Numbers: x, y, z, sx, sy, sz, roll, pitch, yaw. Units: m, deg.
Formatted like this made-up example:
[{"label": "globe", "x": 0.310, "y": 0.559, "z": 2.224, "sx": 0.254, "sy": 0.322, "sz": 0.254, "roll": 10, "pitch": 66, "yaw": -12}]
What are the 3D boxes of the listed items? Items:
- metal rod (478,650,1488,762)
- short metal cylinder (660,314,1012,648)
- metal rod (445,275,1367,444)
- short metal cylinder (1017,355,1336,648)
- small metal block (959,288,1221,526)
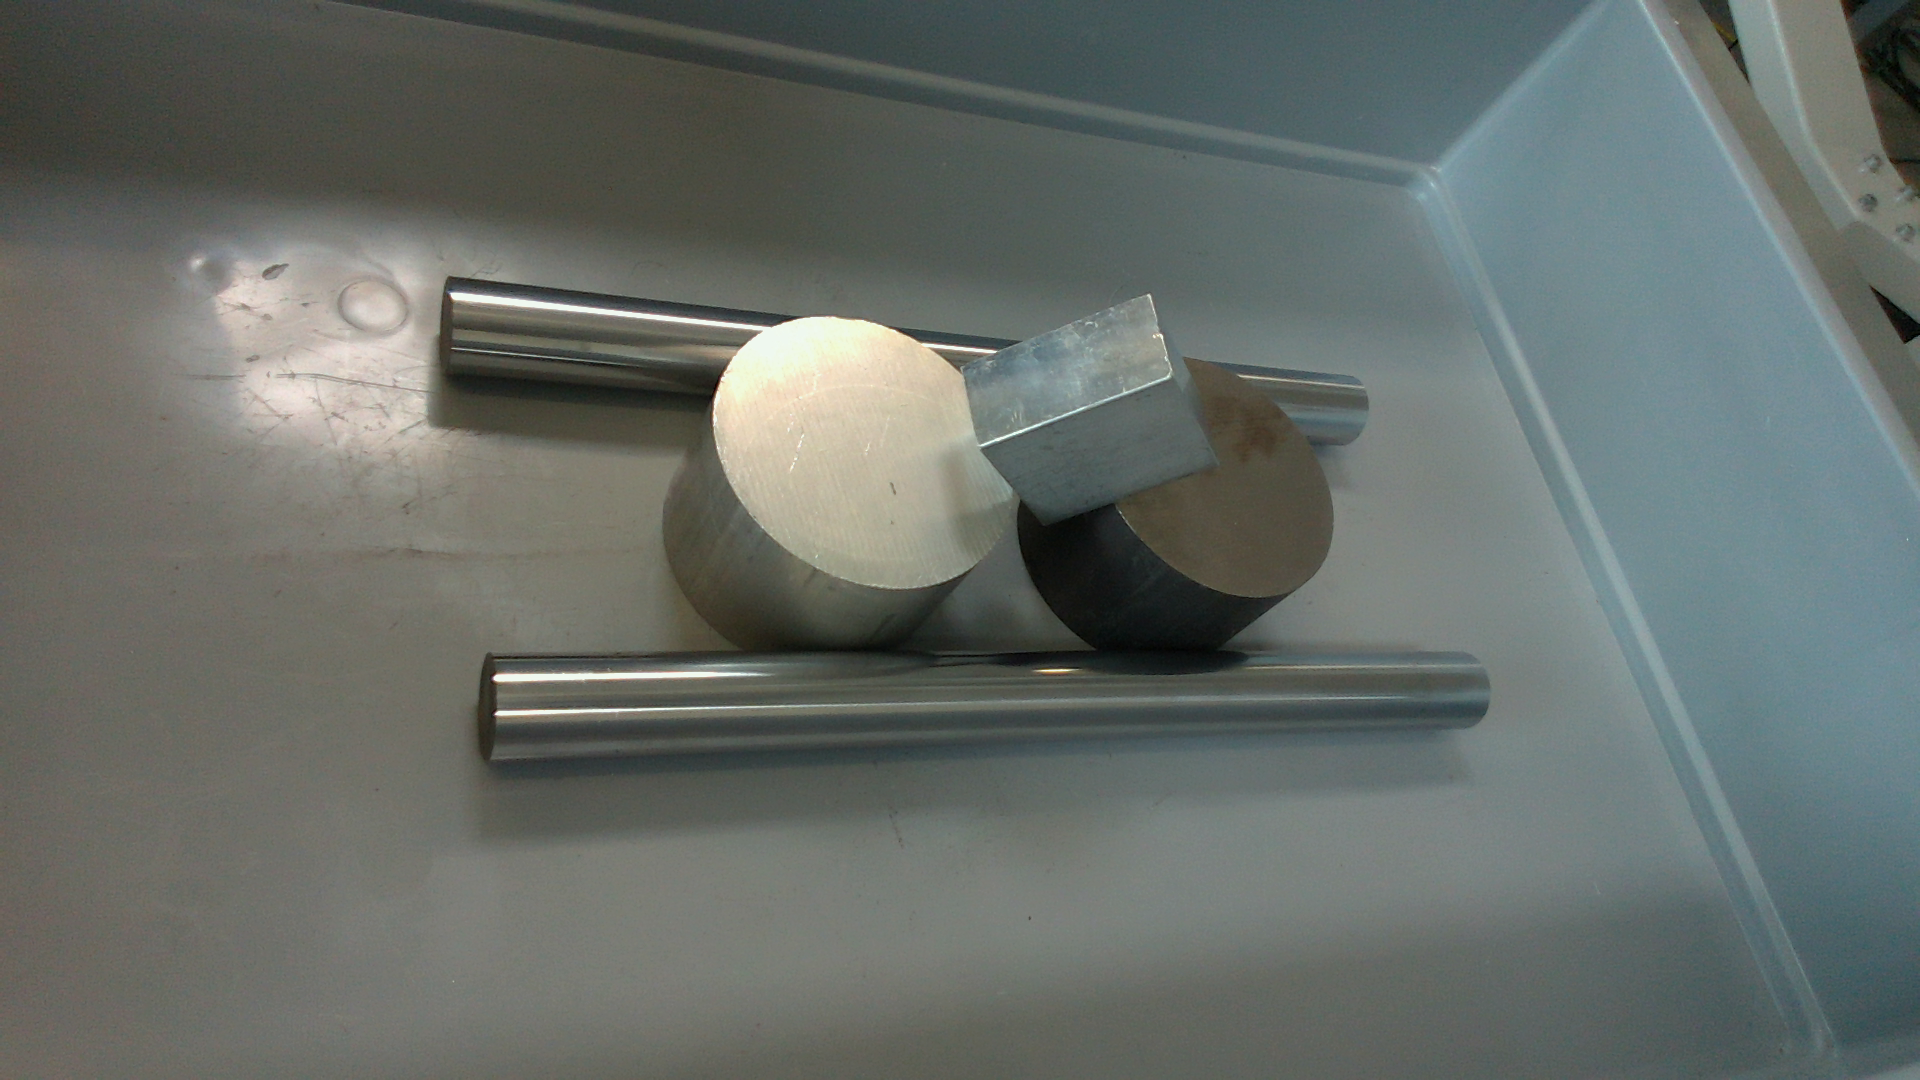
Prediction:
[{"label": "metal rod", "x": 0.027, "y": 0.043, "z": 0.377, "sx": 0.301, "sy": 0.025, "sz": 0.025, "roll": 2, "pitch": 60, "yaw": -27}, {"label": "short metal cylinder", "x": -0.033, "y": -0.012, "z": 0.362, "sx": 0.080, "sy": 0.050, "sz": 0.080, "roll": 14, "pitch": 56, "yaw": -21}, {"label": "metal rod", "x": 0.002, "y": -0.051, "z": 0.421, "sx": 0.301, "sy": 0.025, "sz": 0.025, "roll": 2, "pitch": 61, "yaw": -27}, {"label": "short metal cylinder", "x": 0.064, "y": -0.008, "z": 0.412, "sx": 0.080, "sy": 0.050, "sz": 0.080, "roll": 14, "pitch": 56, "yaw": -21}, {"label": "small metal block", "x": 0.034, "y": -0.032, "z": 0.351, "sx": 0.050, "sy": 0.050, "sz": 0.025, "roll": 45, "pitch": 29, "yaw": -58}]
